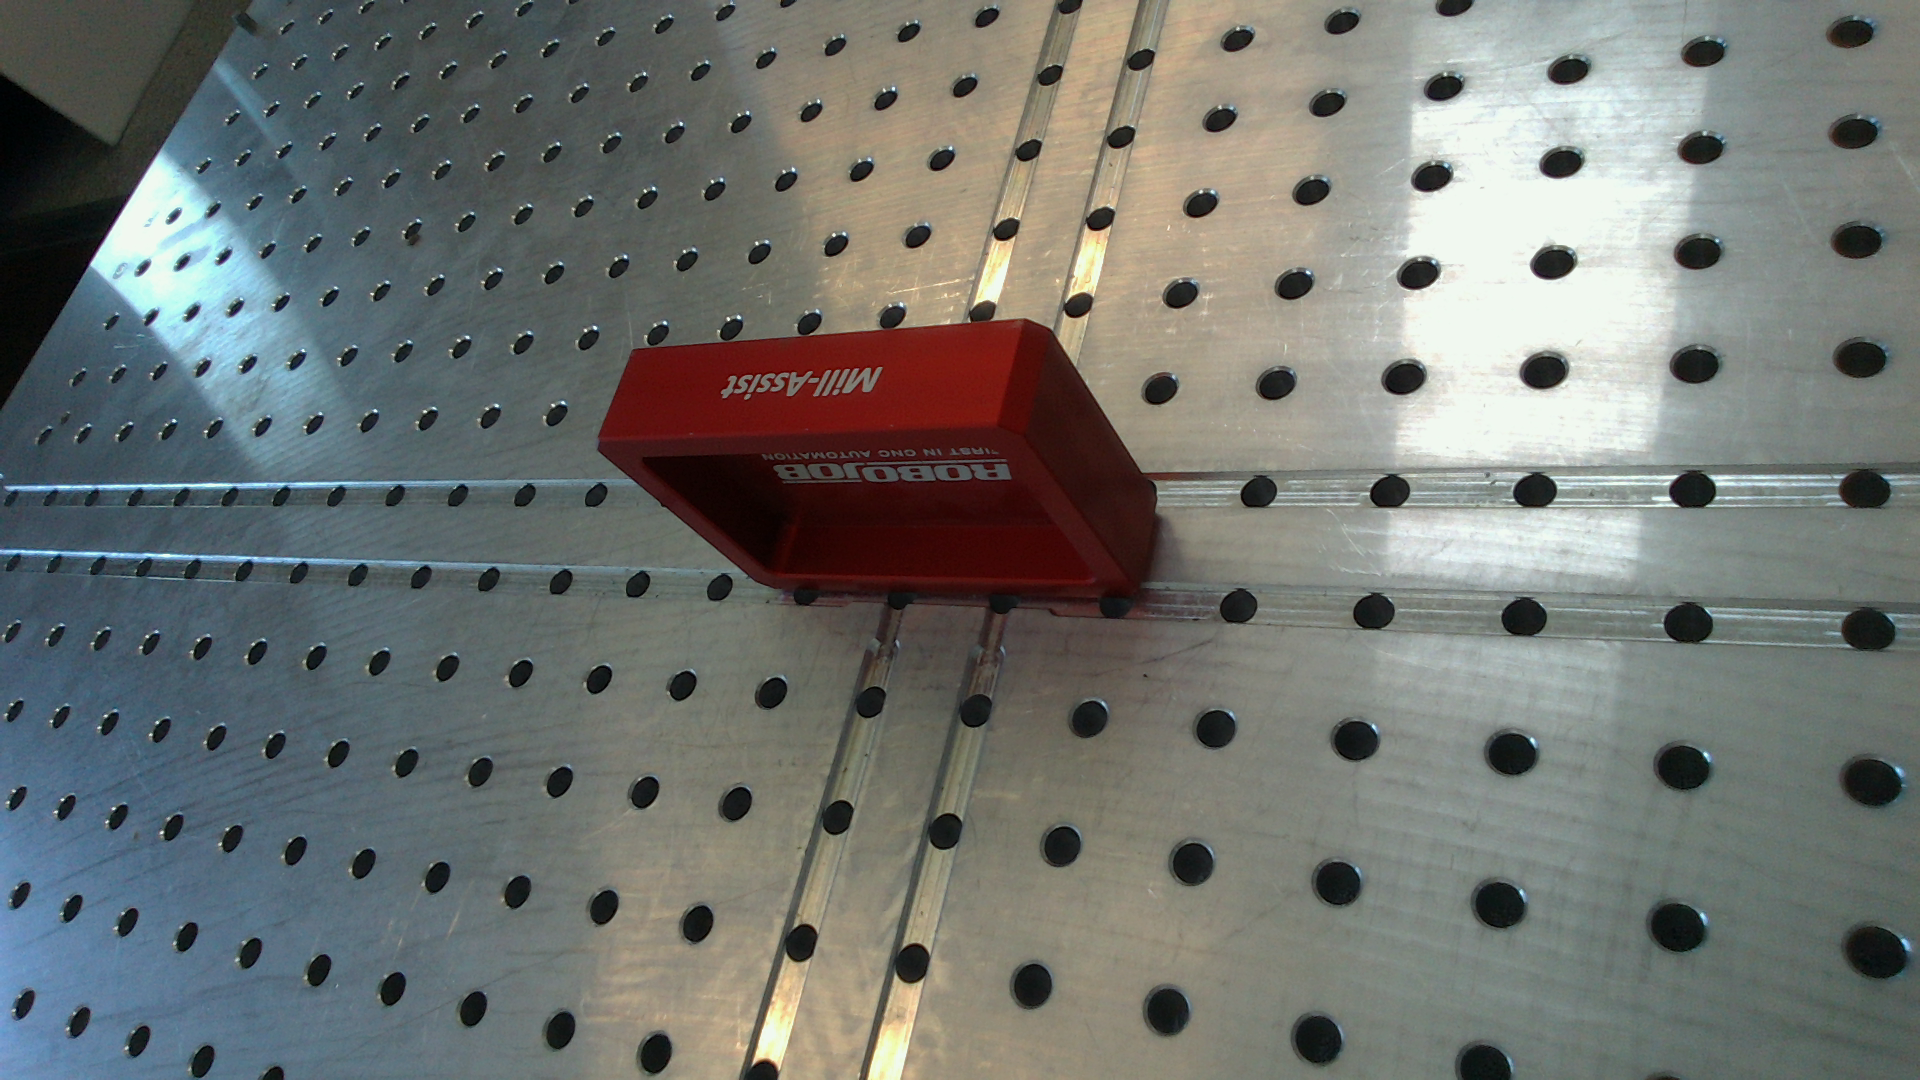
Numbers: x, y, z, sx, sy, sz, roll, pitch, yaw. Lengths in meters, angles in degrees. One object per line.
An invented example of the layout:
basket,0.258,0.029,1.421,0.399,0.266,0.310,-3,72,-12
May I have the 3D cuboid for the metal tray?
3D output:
metal tray,-0.022,-0.019,0.378,0.130,0.090,0.030,0,62,29
